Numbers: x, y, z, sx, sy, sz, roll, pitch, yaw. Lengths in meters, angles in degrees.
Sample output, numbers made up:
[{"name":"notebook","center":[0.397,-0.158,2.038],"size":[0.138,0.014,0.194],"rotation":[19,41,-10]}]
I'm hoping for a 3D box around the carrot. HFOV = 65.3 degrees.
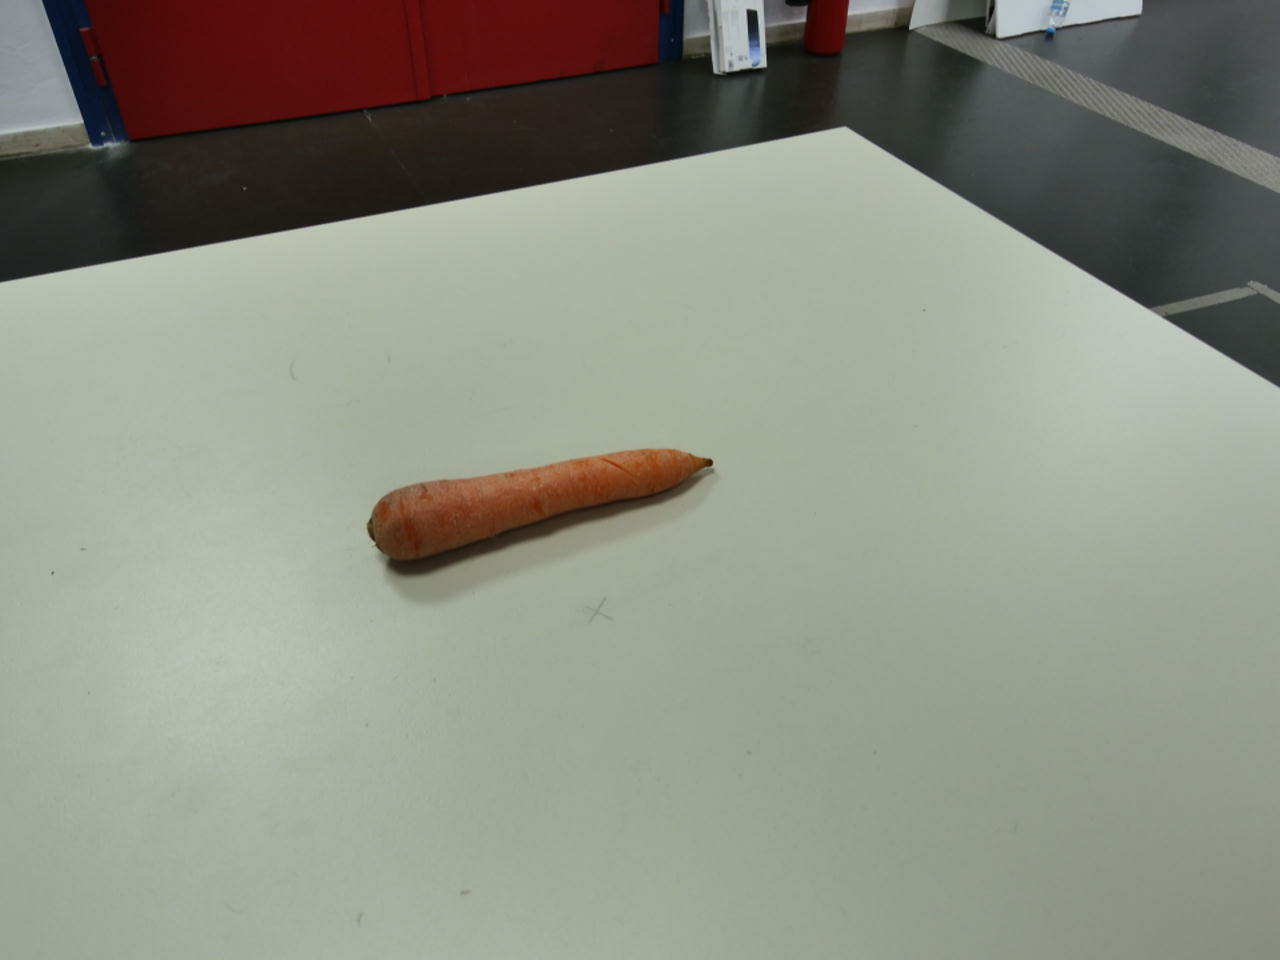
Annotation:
[{"name":"carrot","center":[-0.048,0.002,0.541],"size":[0.196,0.041,0.039],"rotation":[-16,42,-20]}]
